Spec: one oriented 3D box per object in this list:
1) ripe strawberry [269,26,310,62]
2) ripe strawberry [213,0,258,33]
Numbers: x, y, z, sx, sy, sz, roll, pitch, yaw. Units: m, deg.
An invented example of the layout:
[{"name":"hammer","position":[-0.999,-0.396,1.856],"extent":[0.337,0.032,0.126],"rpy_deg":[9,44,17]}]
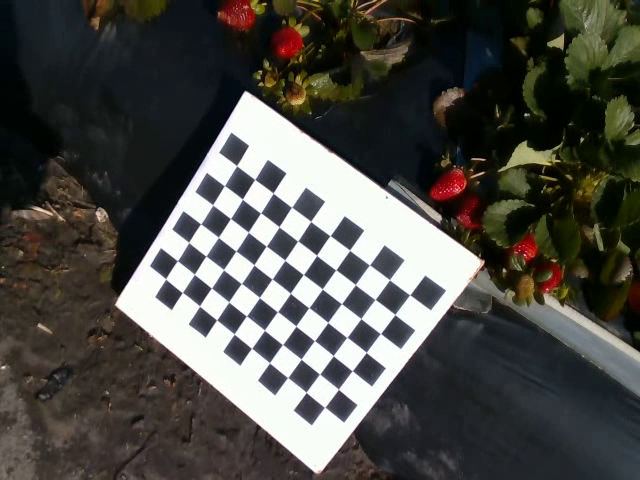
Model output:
[{"name":"ripe strawberry","position":[-0.039,-0.213,0.694],"extent":[0.042,0.039,0.049],"rpy_deg":[-8,30,19]},{"name":"ripe strawberry","position":[-0.100,-0.253,0.704],"extent":[0.044,0.051,0.050],"rpy_deg":[-40,-5,39]}]
